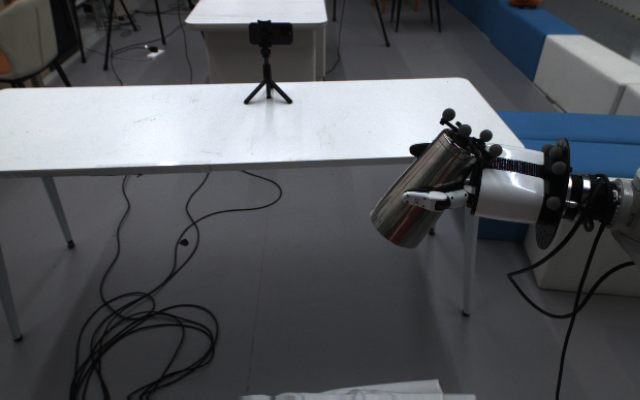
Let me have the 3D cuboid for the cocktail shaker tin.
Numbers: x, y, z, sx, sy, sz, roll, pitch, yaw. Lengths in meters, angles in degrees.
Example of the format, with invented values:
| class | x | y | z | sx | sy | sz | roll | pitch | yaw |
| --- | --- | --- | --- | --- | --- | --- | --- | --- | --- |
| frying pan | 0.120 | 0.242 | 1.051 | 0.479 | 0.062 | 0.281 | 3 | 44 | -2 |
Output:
| class | x | y | z | sx | sy | sz | roll | pitch | yaw |
| --- | --- | --- | --- | --- | --- | --- | --- | --- | --- |
| cocktail shaker tin | 0.158 | -0.024 | 0.719 | 0.093 | 0.170 | 0.093 | 26 | 32 | -17 |
